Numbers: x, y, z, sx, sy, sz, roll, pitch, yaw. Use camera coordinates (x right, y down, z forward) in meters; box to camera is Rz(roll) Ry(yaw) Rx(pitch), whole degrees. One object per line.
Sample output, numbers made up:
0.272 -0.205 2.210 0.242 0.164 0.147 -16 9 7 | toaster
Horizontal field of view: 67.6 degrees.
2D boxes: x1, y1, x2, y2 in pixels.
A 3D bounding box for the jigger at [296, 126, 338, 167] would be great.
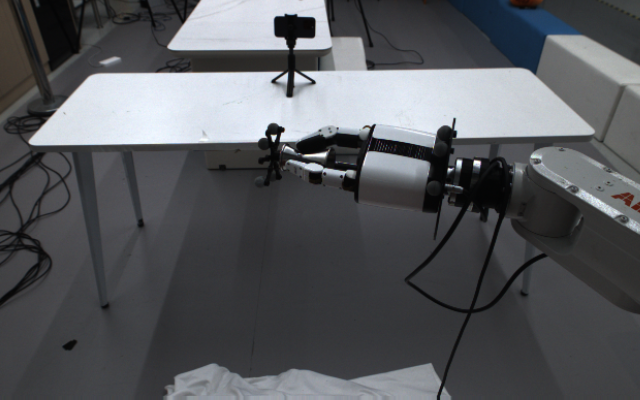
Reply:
-0.011 -0.058 0.667 0.071 0.043 0.043 8 35 17 | jigger
